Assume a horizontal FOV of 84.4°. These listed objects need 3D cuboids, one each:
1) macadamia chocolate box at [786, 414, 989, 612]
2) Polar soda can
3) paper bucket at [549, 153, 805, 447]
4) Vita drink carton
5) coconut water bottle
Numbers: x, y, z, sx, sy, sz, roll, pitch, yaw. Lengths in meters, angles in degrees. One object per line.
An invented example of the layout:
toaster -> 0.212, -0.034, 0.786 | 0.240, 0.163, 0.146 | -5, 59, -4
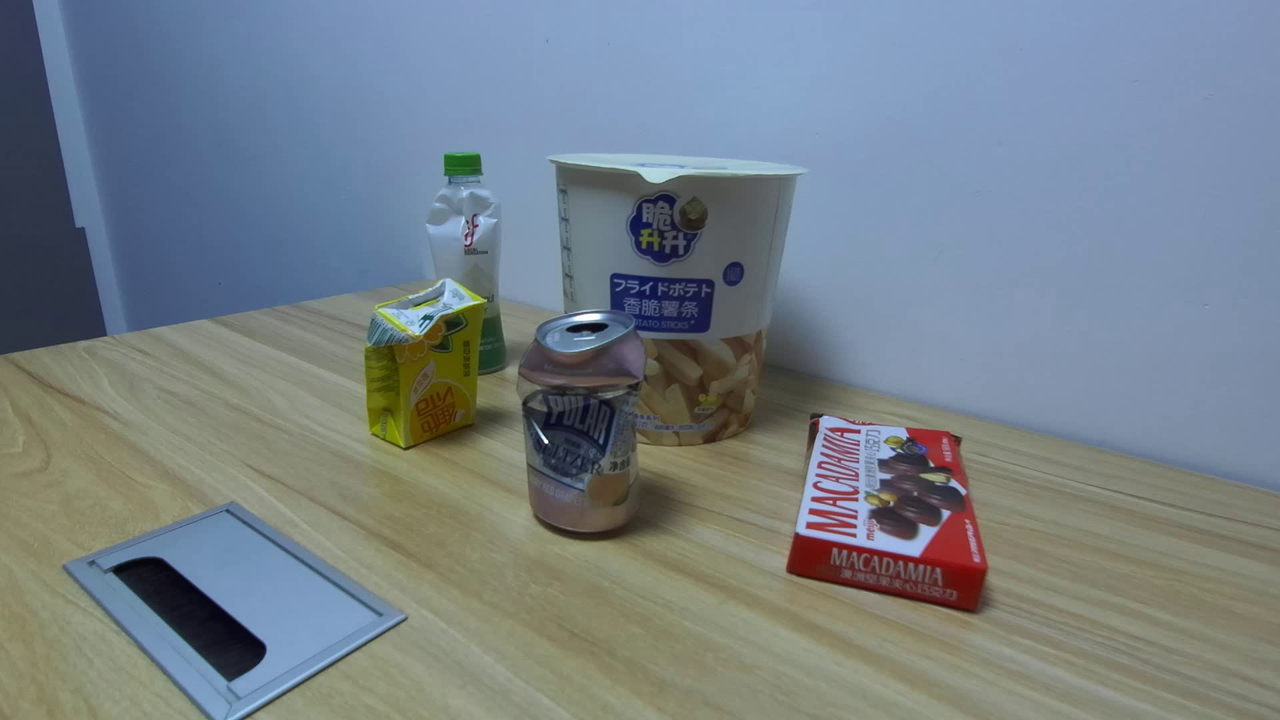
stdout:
macadamia chocolate box -> 0.150, 0.080, 0.434 | 0.105, 0.028, 0.183 | 8, 19, 15
Polar soda can -> -0.034, 0.036, 0.396 | 0.071, 0.122, 0.066 | -1, 25, -8
paper bucket -> 0.024, -0.052, 0.545 | 0.198, 0.194, 0.198 | 2, 19, 0
Vita drink carton -> -0.149, 0.005, 0.496 | 0.042, 0.108, 0.087 | 30, 33, 29
coconut water bottle -> -0.151, -0.084, 0.629 | 0.069, 0.186, 0.069 | 2, 21, -1
